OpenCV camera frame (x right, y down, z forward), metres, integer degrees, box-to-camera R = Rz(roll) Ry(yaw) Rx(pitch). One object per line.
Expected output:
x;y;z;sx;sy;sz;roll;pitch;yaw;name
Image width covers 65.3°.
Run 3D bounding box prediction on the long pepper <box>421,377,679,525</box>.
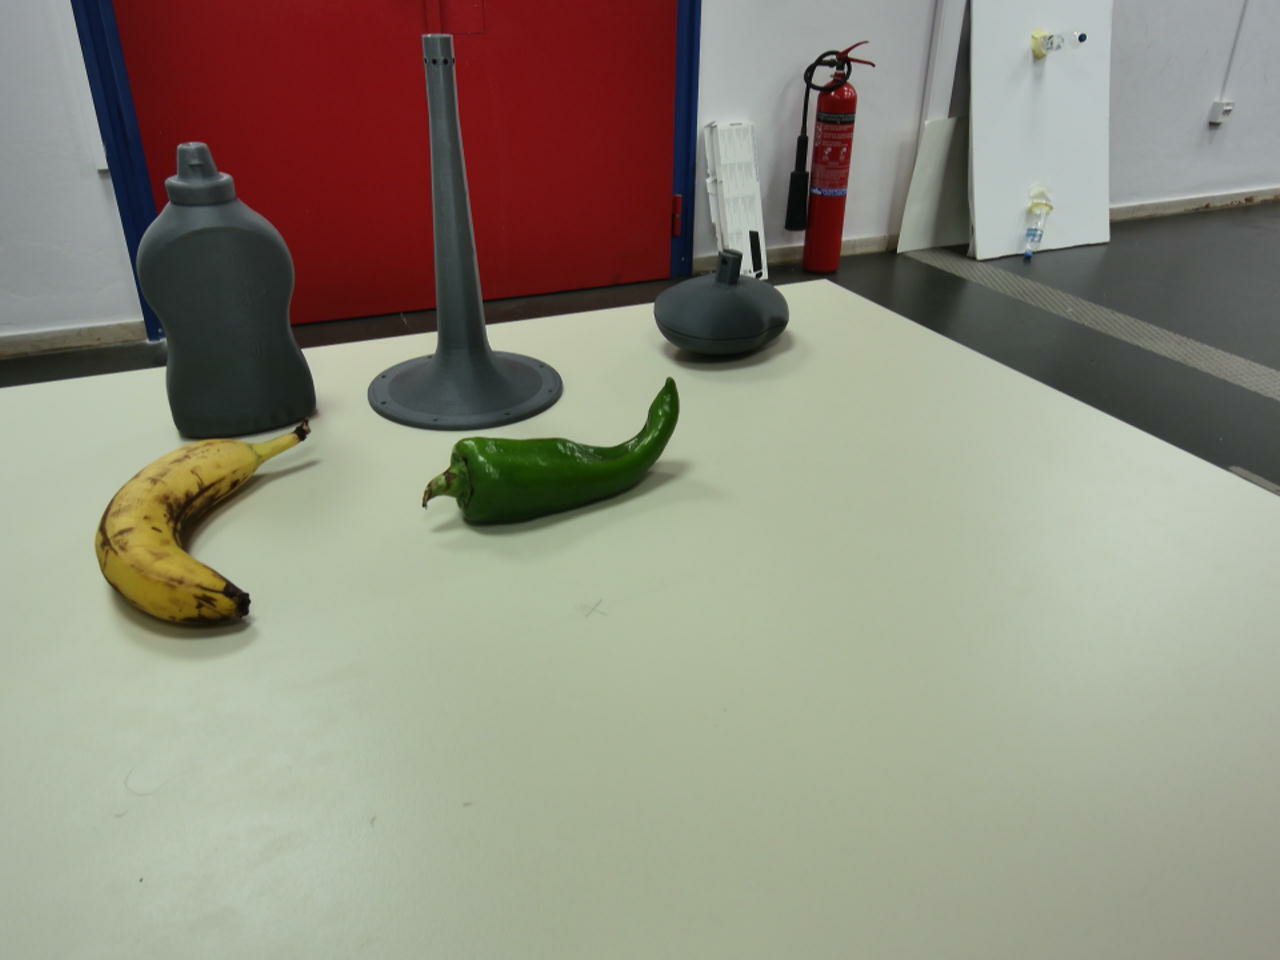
-0.048;-0.016;0.607;0.175;0.065;0.058;-12;29;-24;long pepper
